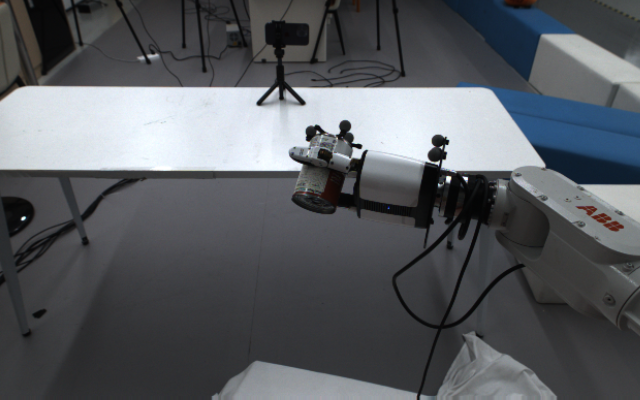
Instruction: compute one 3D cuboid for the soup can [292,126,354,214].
[{"bbox_3d":[0.004,-0.039,0.714,0.067,0.067,0.101,12,71,14],"label":"soup can"}]
